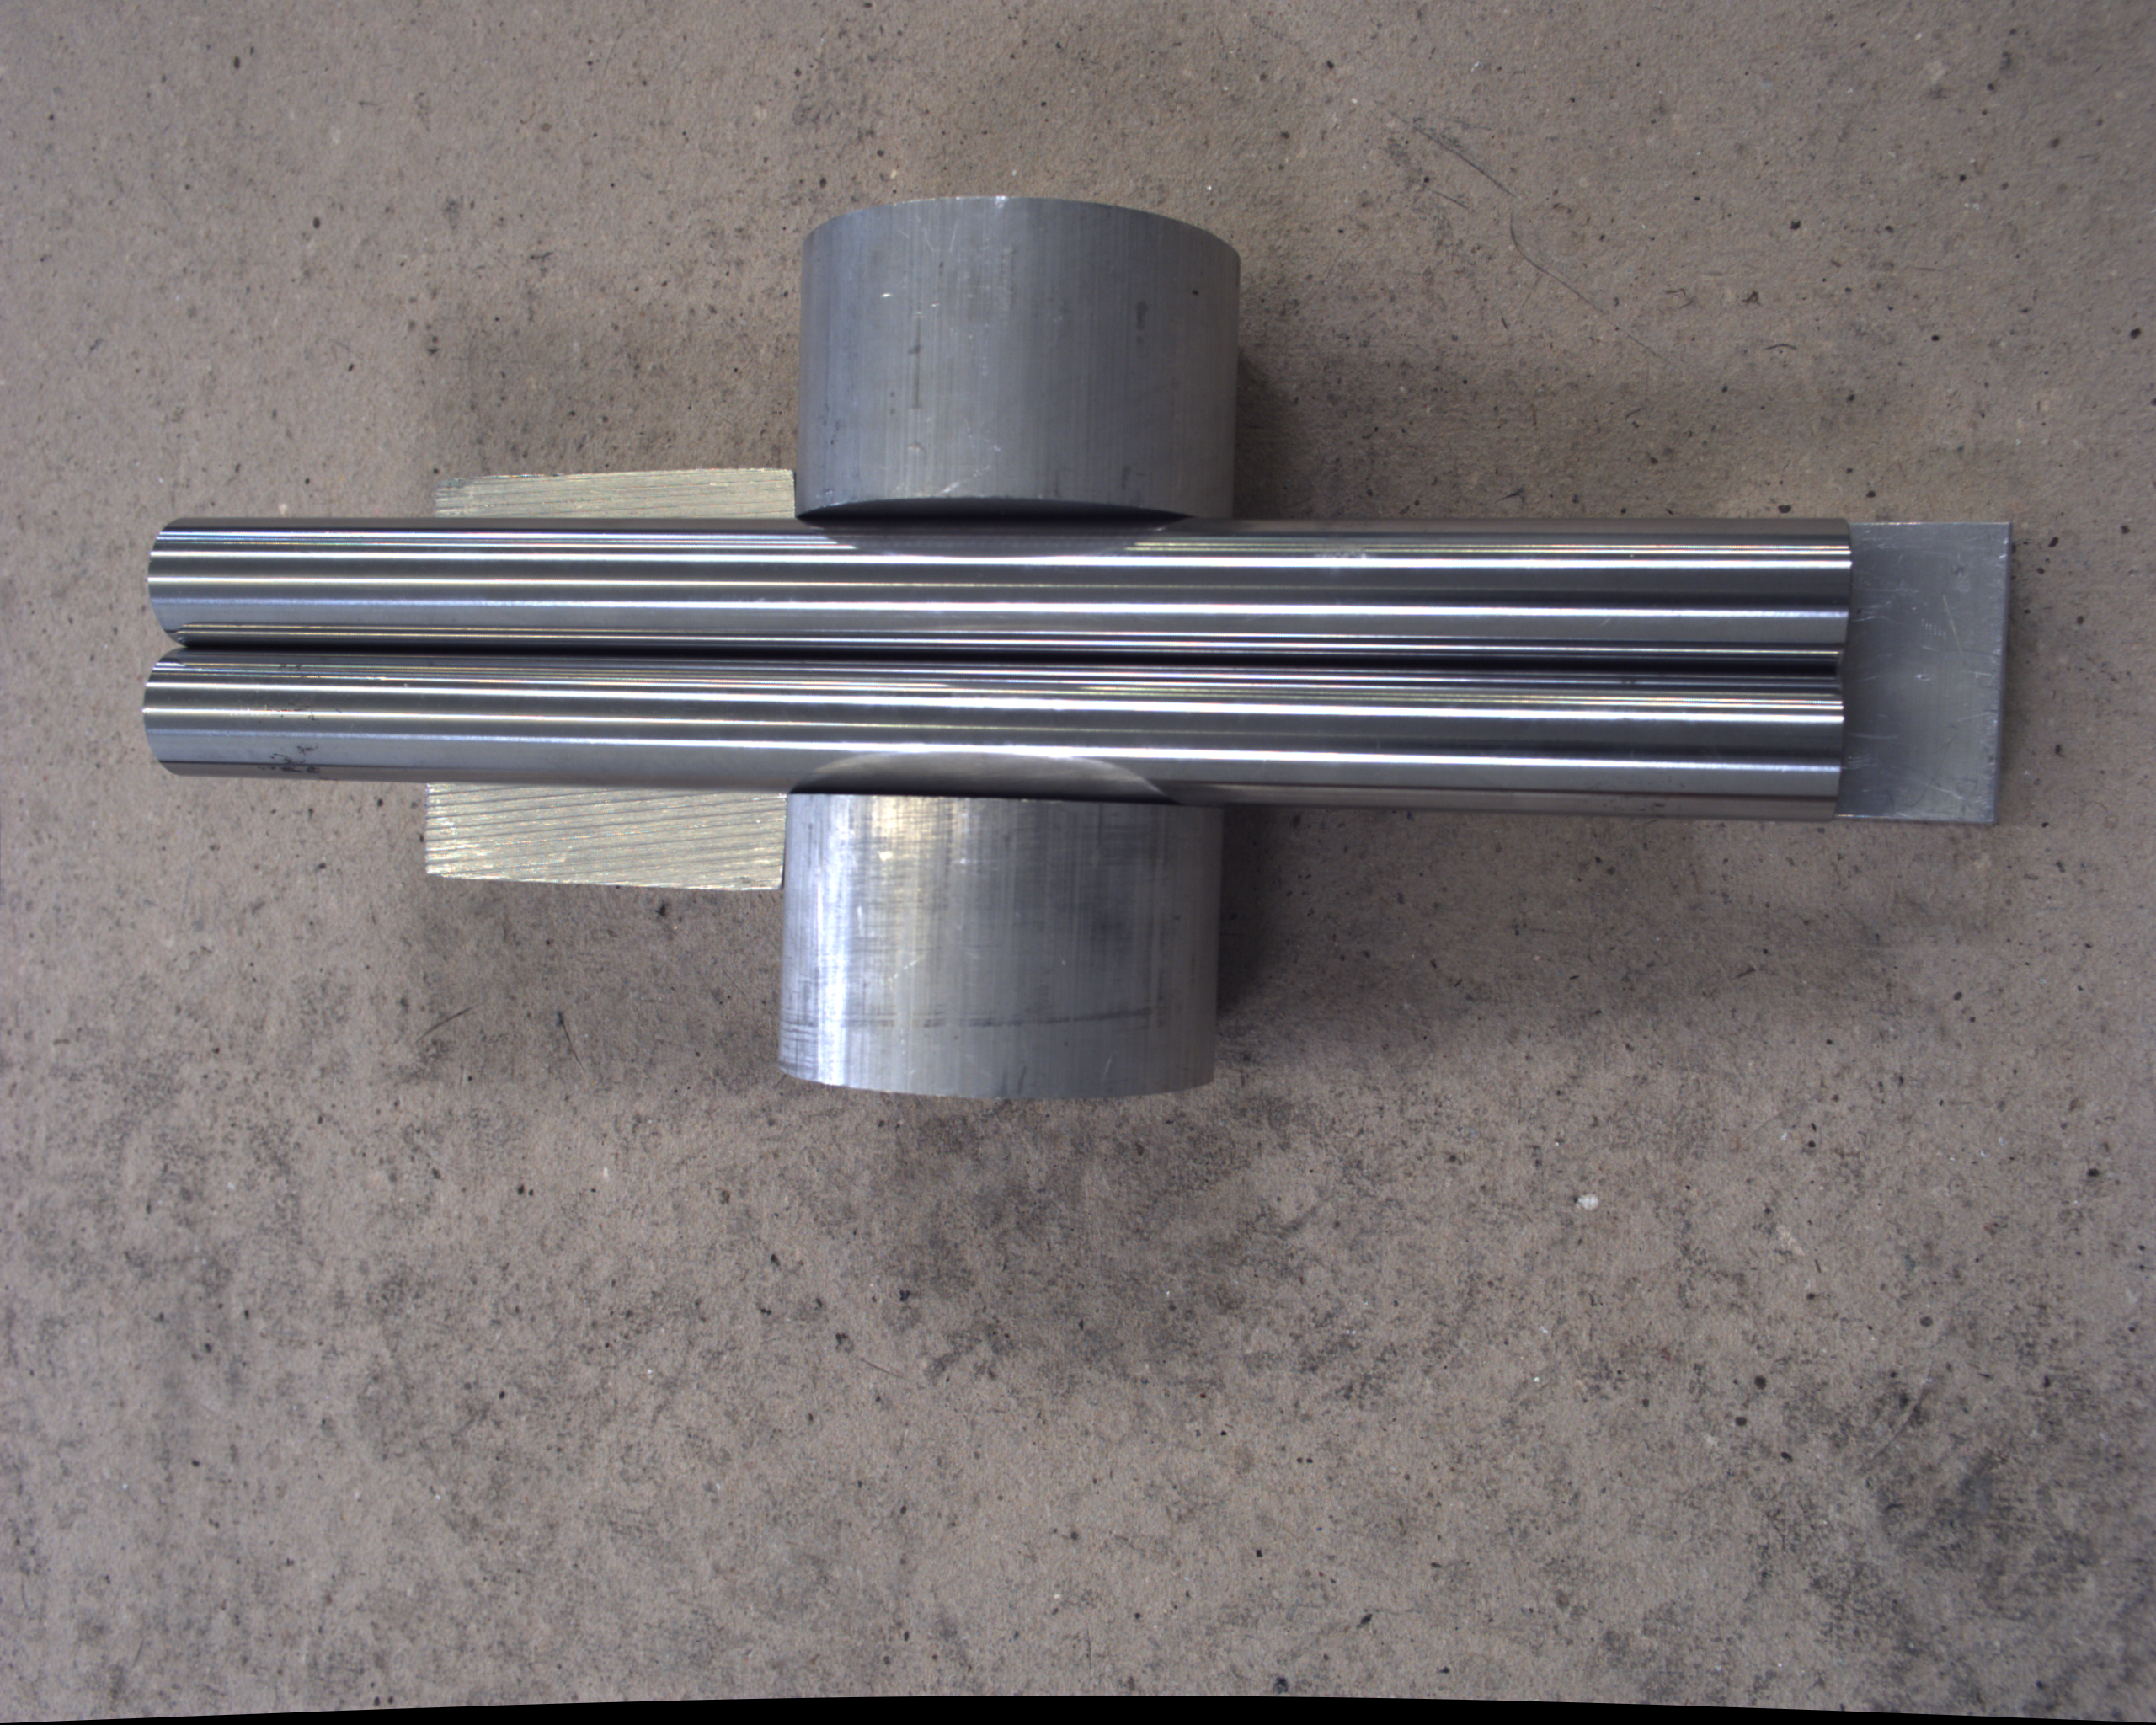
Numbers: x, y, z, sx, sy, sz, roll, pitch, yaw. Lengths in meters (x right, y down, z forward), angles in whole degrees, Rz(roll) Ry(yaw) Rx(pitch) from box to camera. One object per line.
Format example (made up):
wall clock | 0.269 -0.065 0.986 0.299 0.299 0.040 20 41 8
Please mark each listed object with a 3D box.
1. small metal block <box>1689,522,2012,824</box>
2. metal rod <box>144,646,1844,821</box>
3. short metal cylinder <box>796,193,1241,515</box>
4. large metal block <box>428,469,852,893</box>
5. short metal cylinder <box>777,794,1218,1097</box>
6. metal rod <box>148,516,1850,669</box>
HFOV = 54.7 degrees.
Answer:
small metal block | 0.133 -0.033 0.363 0.050 0.025 0.050 3 91 20
metal rod | -0.024 -0.024 0.371 0.301 0.025 0.025 2 91 12
short metal cylinder | -0.011 -0.086 0.385 0.080 0.080 0.050 2 91 20
large metal block | -0.082 -0.035 0.426 0.080 0.050 0.080 2 91 20
short metal cylinder | -0.015 0.013 0.386 0.080 0.080 0.050 2 91 20
metal rod | -0.023 -0.049 0.371 0.301 0.025 0.025 2 91 12
